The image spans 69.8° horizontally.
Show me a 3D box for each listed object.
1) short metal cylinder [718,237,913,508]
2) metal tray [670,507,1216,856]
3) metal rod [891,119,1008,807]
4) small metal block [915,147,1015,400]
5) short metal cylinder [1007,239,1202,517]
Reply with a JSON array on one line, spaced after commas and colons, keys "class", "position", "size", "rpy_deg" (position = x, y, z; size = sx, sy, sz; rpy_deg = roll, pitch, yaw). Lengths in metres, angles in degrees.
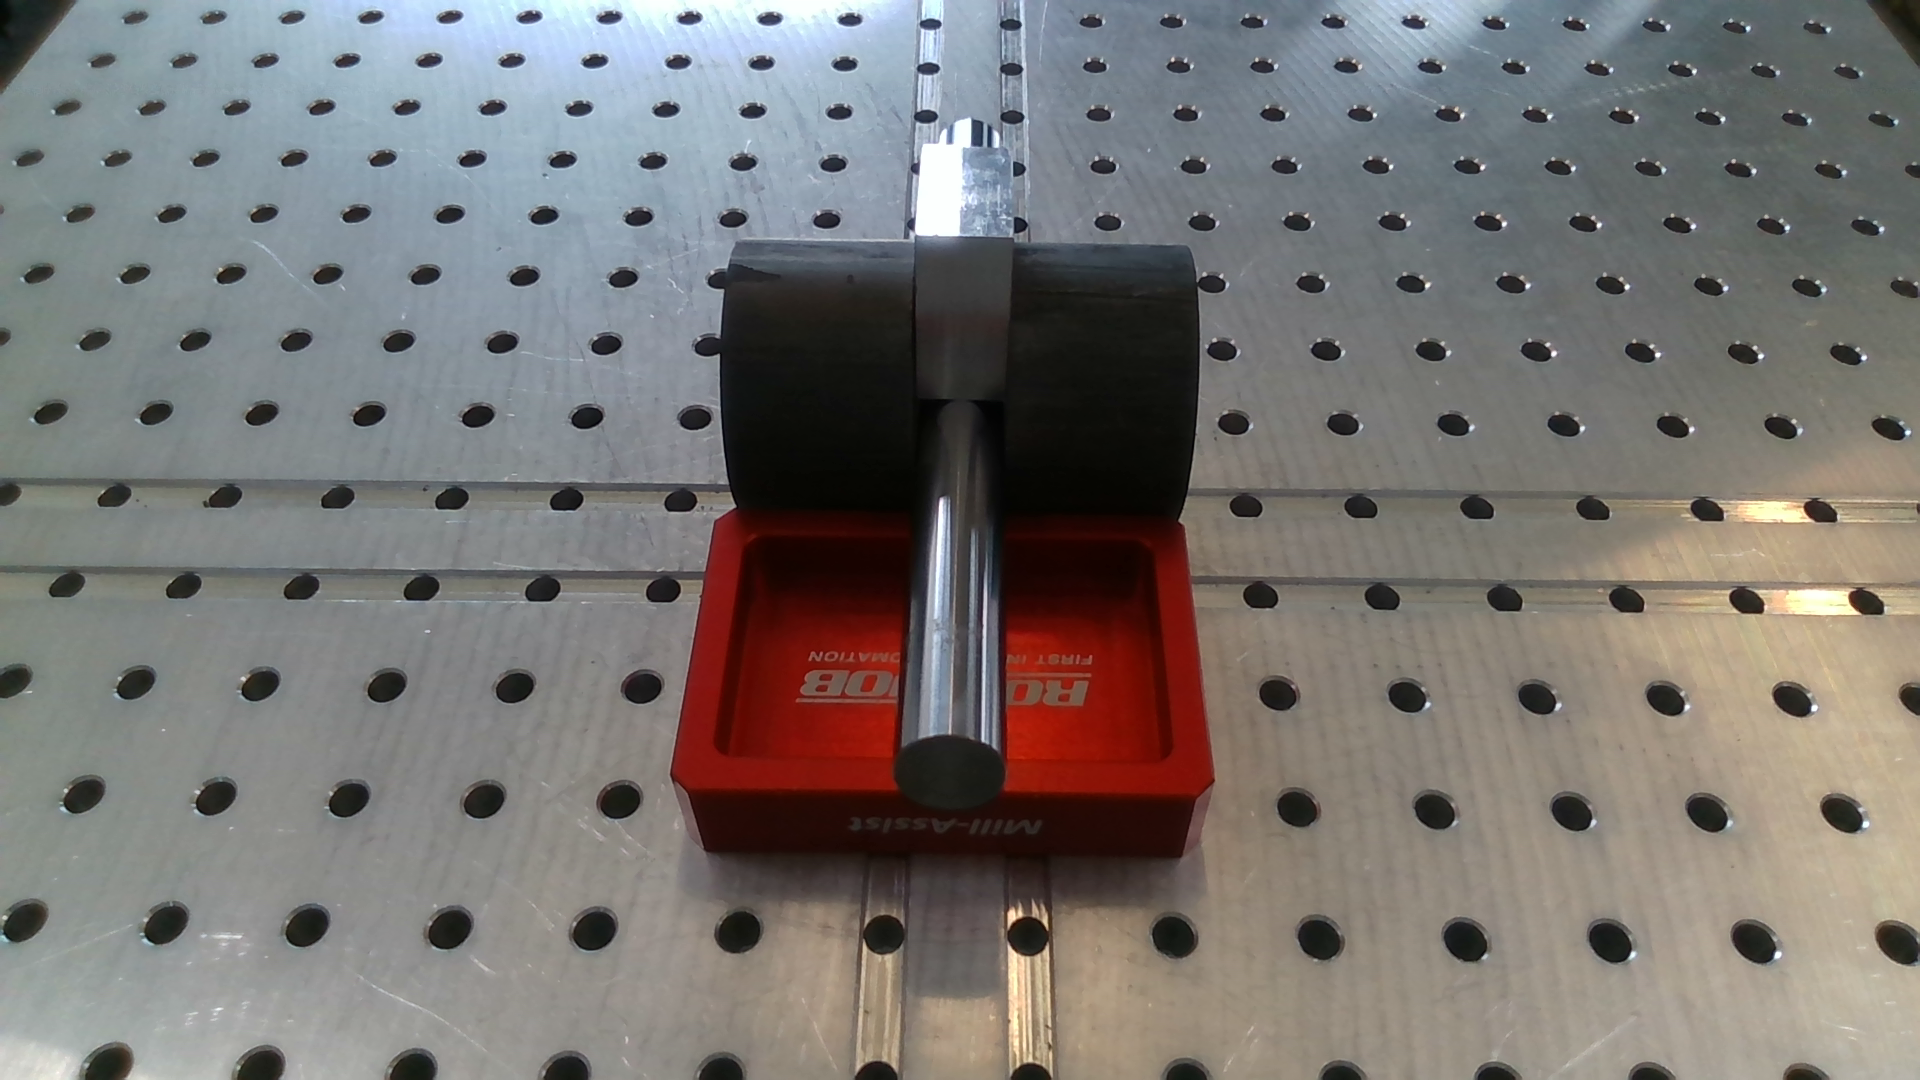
[{"class": "short metal cylinder", "position": [-0.038, -0.047, 0.400], "size": [0.050, 0.080, 0.080], "rpy_deg": [1, 50, 1]}, {"class": "metal tray", "position": [-0.003, 0.035, 0.364], "size": [0.130, 0.030, 0.090], "rpy_deg": [1, 50, 1]}, {"class": "metal rod", "position": [0.000, -0.049, 0.407], "size": [0.025, 0.025, 0.299], "rpy_deg": [1, 41, 1]}, {"class": "small metal block", "position": [0.002, -0.074, 0.380], "size": [0.025, 0.050, 0.050], "rpy_deg": [0, 42, 0]}, {"class": "short metal cylinder", "position": [0.038, -0.046, 0.397], "size": [0.050, 0.080, 0.080], "rpy_deg": [0, 50, 0]}]
